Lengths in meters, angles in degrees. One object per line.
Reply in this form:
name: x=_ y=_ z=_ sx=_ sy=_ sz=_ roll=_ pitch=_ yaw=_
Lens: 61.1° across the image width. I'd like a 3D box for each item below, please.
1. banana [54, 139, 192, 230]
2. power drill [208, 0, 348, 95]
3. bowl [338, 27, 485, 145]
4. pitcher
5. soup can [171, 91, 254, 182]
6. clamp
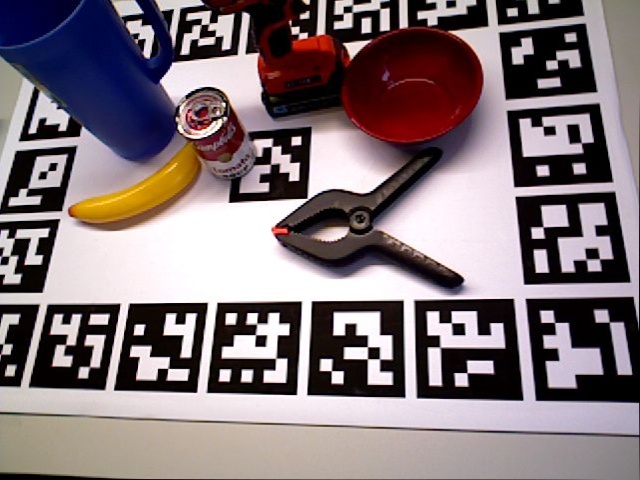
banana: x=-0.239 y=-0.057 z=0.675 sx=0.197 sy=0.039 sz=0.073 roll=-27 pitch=57 yaw=0
power drill: x=-0.019 y=-0.247 z=0.592 sx=0.185 sy=0.188 sz=0.057 roll=-8 pitch=66 yaw=8
bowl: x=0.103 y=-0.168 z=0.626 sx=0.162 sy=0.055 sz=0.160 roll=-5 pitch=70 yaw=12
pitcher: x=-0.254 y=-0.201 z=0.619 sx=0.188 sy=0.245 sz=0.132 roll=-26 pitch=62 yaw=1
soup can: x=-0.123 y=-0.124 z=0.638 sx=0.068 sy=0.103 sz=0.067 roll=-6 pitch=59 yaw=10
clamp: x=0.045 y=-0.016 z=0.585 sx=0.203 sy=0.037 sz=0.164 roll=-6 pitch=72 yaw=11
